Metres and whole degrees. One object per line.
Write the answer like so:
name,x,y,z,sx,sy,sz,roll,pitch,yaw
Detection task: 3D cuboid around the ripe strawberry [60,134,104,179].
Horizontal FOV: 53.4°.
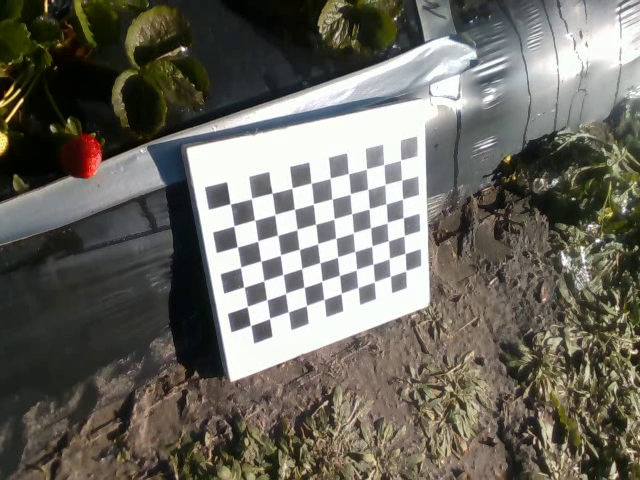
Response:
ripe strawberry,-0.173,-0.057,0.464,0.036,0.038,0.046,-17,39,-21
